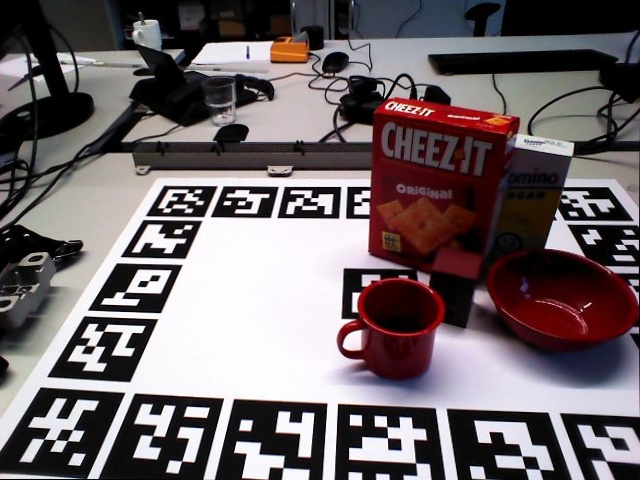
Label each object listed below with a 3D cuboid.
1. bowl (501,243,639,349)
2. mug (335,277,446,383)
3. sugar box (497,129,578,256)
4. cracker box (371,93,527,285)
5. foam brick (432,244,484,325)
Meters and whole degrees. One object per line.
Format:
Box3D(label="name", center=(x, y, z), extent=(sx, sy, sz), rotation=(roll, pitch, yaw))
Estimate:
Box3D(label="bowl", center=(0.284, 0.071, 0.588), extent=(0.162, 0.055, 0.161), rotation=(-2, 37, 1))
Box3D(label="mug", center=(0.075, 0.099, 0.556), extent=(0.117, 0.081, 0.093), rotation=(-6, 28, 0))
Box3D(label="sugar box", center=(0.267, -0.055, 0.678), extent=(0.093, 0.177, 0.045), rotation=(14, 39, 23))
Box3D(label="cracker box", center=(0.155, -0.063, 0.668), extent=(0.165, 0.214, 0.071), rotation=(21, 40, 28))
Box3D(label="foam brick", center=(0.165, 0.054, 0.628), extent=(0.053, 0.078, 0.051), rotation=(10, 37, 19))
